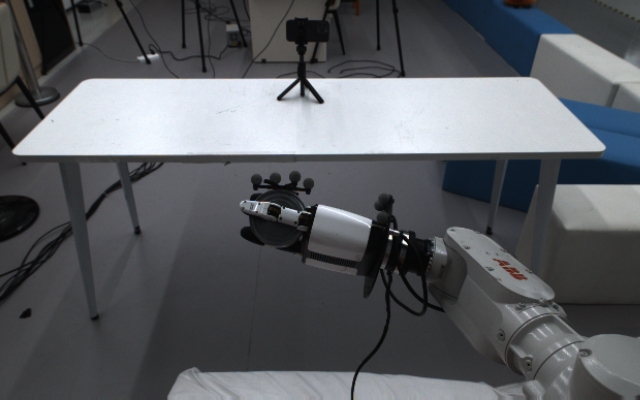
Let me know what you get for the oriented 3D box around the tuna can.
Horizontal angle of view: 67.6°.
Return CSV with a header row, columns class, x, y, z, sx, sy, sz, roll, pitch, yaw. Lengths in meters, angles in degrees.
class,x,y,z,sx,sy,sz,roll,pitch,yaw
tuna can,-0.060,0.029,0.726,0.085,0.034,0.085,0,77,-1
